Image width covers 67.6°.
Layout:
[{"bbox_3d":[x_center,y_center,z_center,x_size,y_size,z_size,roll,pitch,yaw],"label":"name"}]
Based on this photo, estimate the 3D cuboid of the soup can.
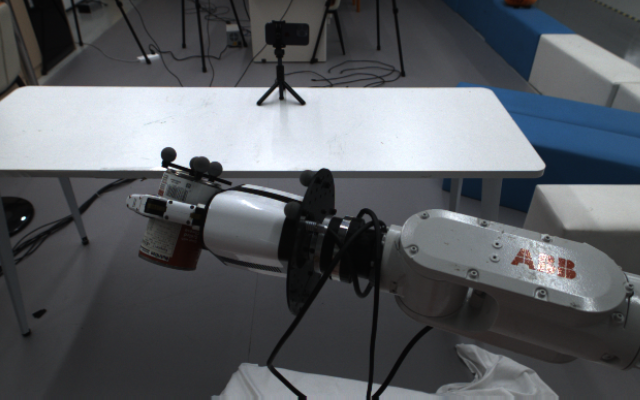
[{"bbox_3d":[-0.157,0.023,0.552,0.067,0.101,0.067,17,-1,0],"label":"soup can"}]
